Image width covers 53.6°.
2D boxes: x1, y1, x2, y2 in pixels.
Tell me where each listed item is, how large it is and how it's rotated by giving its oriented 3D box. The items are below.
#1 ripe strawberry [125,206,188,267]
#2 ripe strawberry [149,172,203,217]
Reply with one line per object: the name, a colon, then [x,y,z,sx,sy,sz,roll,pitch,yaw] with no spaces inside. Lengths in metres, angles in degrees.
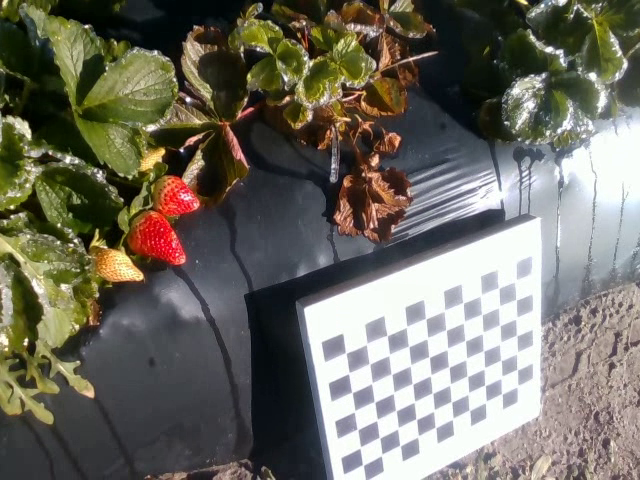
ripe strawberry: [-0.120,0.004,0.478,0.051,0.037,0.040,36,-2,4]
ripe strawberry: [-0.112,-0.034,0.490,0.041,0.036,0.030,11,13,-26]
